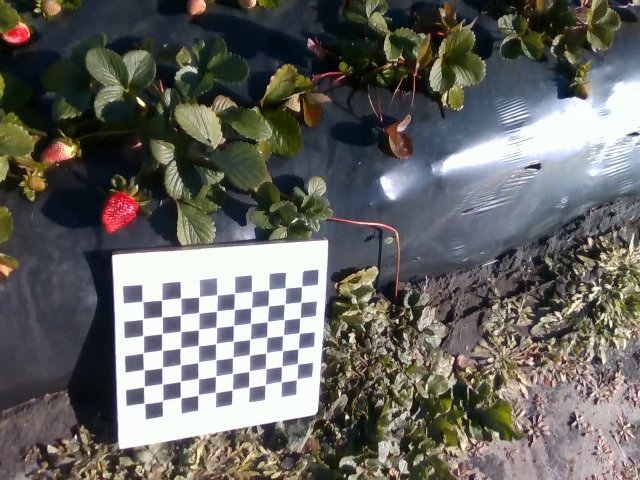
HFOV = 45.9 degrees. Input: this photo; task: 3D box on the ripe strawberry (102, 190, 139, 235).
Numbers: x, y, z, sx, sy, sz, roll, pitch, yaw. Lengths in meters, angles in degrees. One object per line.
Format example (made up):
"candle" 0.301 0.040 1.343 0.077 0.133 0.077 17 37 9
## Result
"ripe strawberry" -0.249 -0.032 0.896 0.058 0.062 0.065 -34 -58 23
